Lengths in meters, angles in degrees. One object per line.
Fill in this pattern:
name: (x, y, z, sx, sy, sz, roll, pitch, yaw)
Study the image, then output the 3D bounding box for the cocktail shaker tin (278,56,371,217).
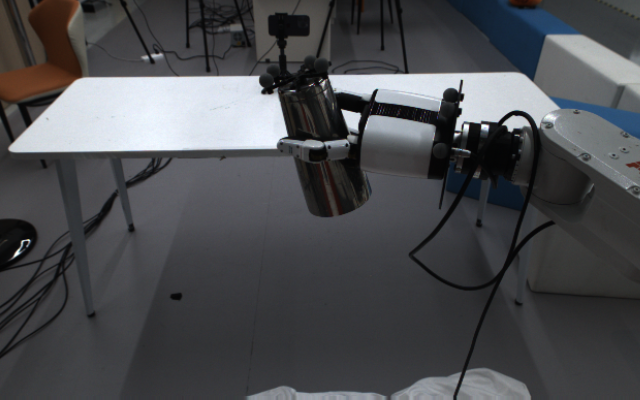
cocktail shaker tin: (0.003, -0.073, 0.632, 0.093, 0.170, 0.093, -15, 29, 8)
